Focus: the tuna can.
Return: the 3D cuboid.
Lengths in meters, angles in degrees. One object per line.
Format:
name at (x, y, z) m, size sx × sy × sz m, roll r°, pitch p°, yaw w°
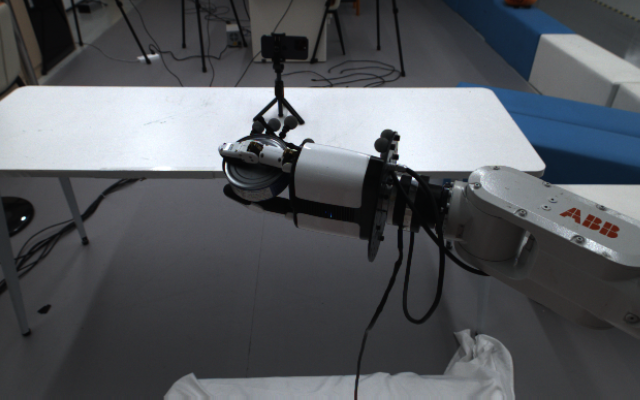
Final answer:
tuna can at (-0.078, -0.041, 0.619) m, size 0.085 × 0.034 × 0.085 m, roll -4°, pitch 56°, yaw 6°
